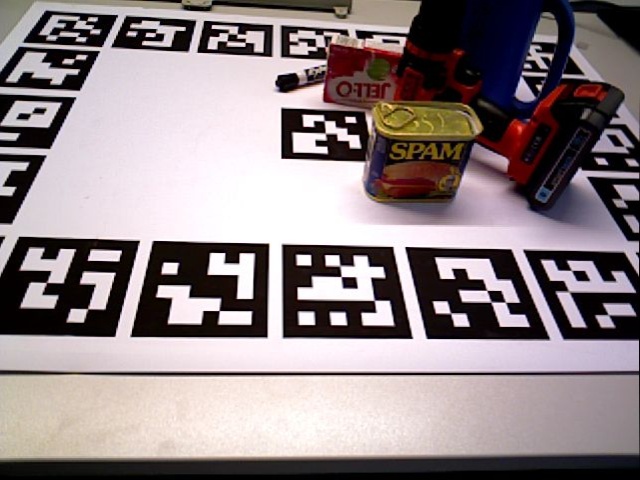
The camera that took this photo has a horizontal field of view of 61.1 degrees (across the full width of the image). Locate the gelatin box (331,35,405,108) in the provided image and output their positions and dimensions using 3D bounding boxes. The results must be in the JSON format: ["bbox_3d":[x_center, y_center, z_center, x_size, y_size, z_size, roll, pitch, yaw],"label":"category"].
[{"bbox_3d":[0.062,-0.194,0.640,0.089,0.075,0.029,12,50,2],"label":"gelatin box"}]

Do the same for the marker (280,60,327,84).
[{"bbox_3d":[0.005,-0.219,0.691,0.119,0.020,0.019,-18,52,-21],"label":"marker"}]

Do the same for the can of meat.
[{"bbox_3d":[0.094,-0.081,0.525,0.101,0.086,0.057,3,44,-5],"label":"can of meat"}]

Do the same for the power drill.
[{"bbox_3d":[0.165,-0.156,0.539,0.187,0.189,0.056,33,53,15],"label":"power drill"}]

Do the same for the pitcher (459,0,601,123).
[{"bbox_3d":[0.213,-0.243,0.595,0.189,0.248,0.130,23,51,23],"label":"pitcher"}]
